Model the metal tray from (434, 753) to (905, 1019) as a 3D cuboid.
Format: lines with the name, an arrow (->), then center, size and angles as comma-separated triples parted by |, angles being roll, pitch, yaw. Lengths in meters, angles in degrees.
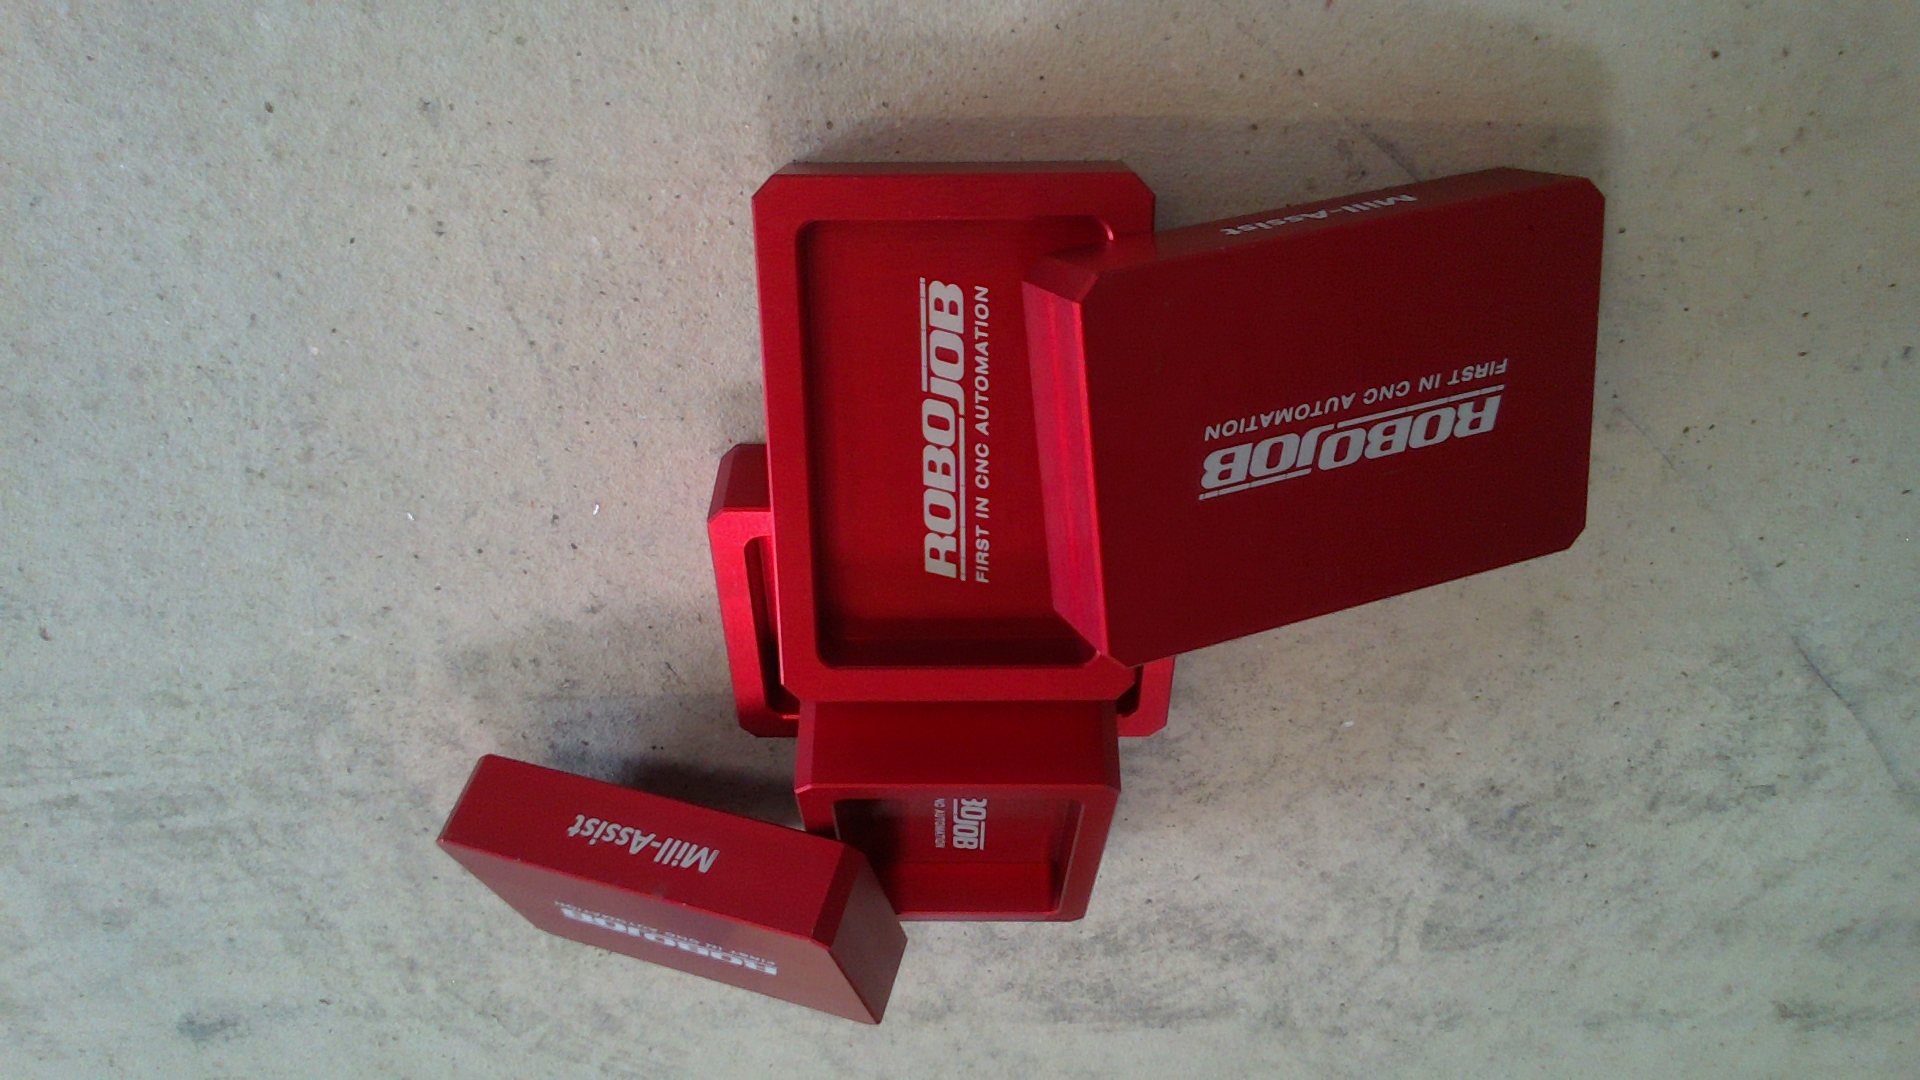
metal tray -> -0.090, 0.113, 0.444 | 0.130, 0.030, 0.090 | 10, 149, 15

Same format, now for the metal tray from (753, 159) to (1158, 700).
metal tray -> 0.000, -0.025, 0.340 | 0.090, 0.030, 0.130 | -1, 110, 0

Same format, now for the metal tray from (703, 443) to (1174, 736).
metal tray -> -0.003, 0.016, 0.402 | 0.130, 0.030, 0.090 | 0, 130, 0

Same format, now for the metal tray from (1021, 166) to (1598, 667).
metal tray -> 0.083, -0.031, 0.320 | 0.130, 0.030, 0.090 | -14, 113, -16

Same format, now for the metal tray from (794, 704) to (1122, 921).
metal tray -> -0.001, 0.088, 0.435 | 0.090, 0.030, 0.130 | 1, 149, 0
